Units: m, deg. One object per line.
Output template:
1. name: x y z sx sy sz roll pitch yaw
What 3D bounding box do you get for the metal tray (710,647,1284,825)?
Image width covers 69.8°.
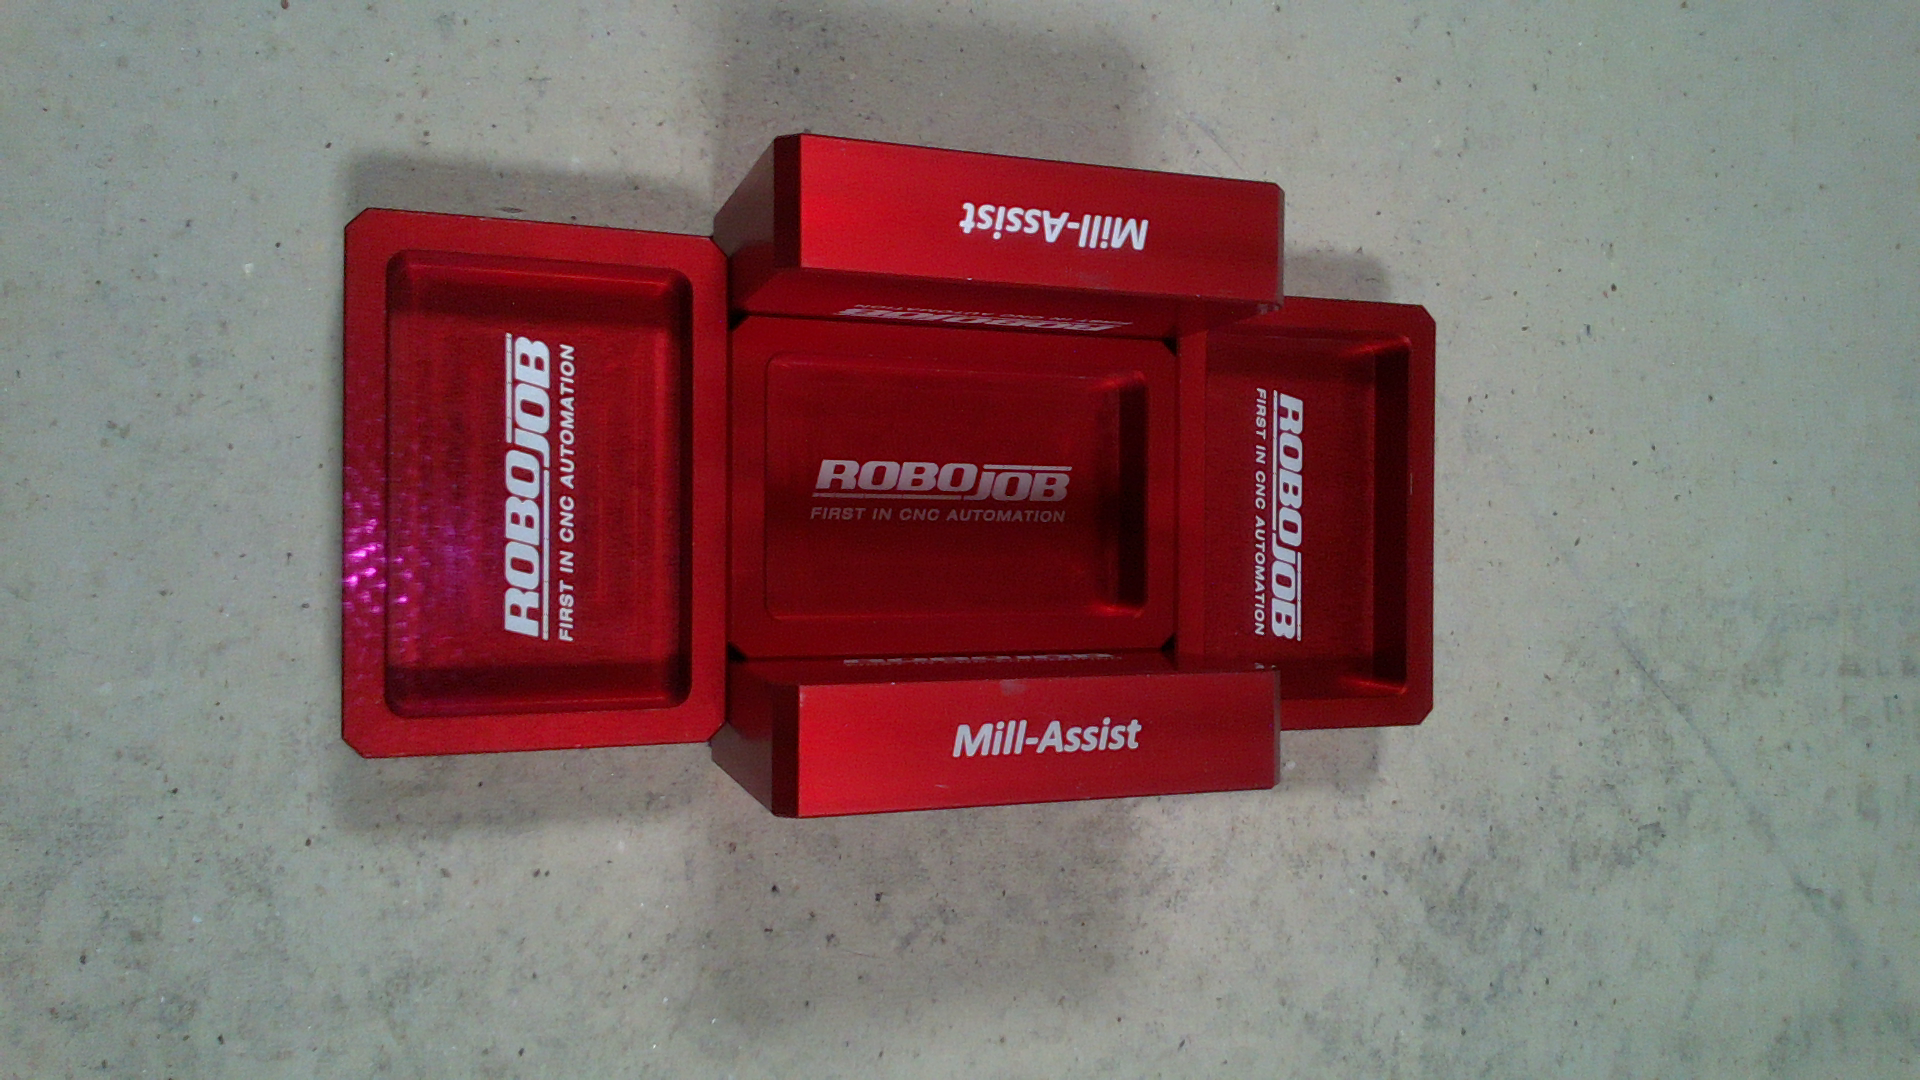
1. metal tray: 0.006 0.047 0.360 0.130 0.090 0.030 0 90 -20

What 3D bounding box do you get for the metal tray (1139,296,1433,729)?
1. metal tray: 0.100 -0.008 0.427 0.090 0.030 0.130 0 90 -20

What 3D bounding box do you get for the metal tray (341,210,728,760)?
1. metal tray: -0.107 -0.013 0.352 0.090 0.030 0.130 0 90 -20

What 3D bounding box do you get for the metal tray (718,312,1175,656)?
1. metal tray: -0.004 -0.013 0.389 0.130 0.030 0.090 1 90 -20

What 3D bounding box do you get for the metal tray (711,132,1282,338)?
1. metal tray: 0.006 -0.074 0.361 0.130 0.090 0.030 0 90 -20
